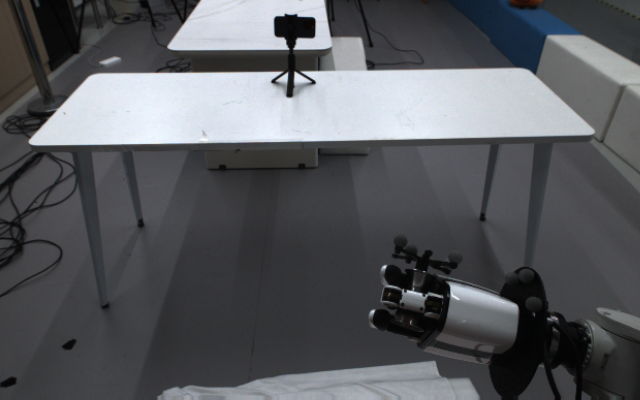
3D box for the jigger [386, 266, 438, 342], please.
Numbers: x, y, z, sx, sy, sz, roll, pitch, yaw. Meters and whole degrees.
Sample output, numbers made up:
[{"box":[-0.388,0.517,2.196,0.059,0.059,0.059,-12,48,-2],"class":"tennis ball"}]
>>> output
[{"box":[0.119,0.122,0.603,0.043,0.043,0.071,13,72,15],"class":"jigger"}]
